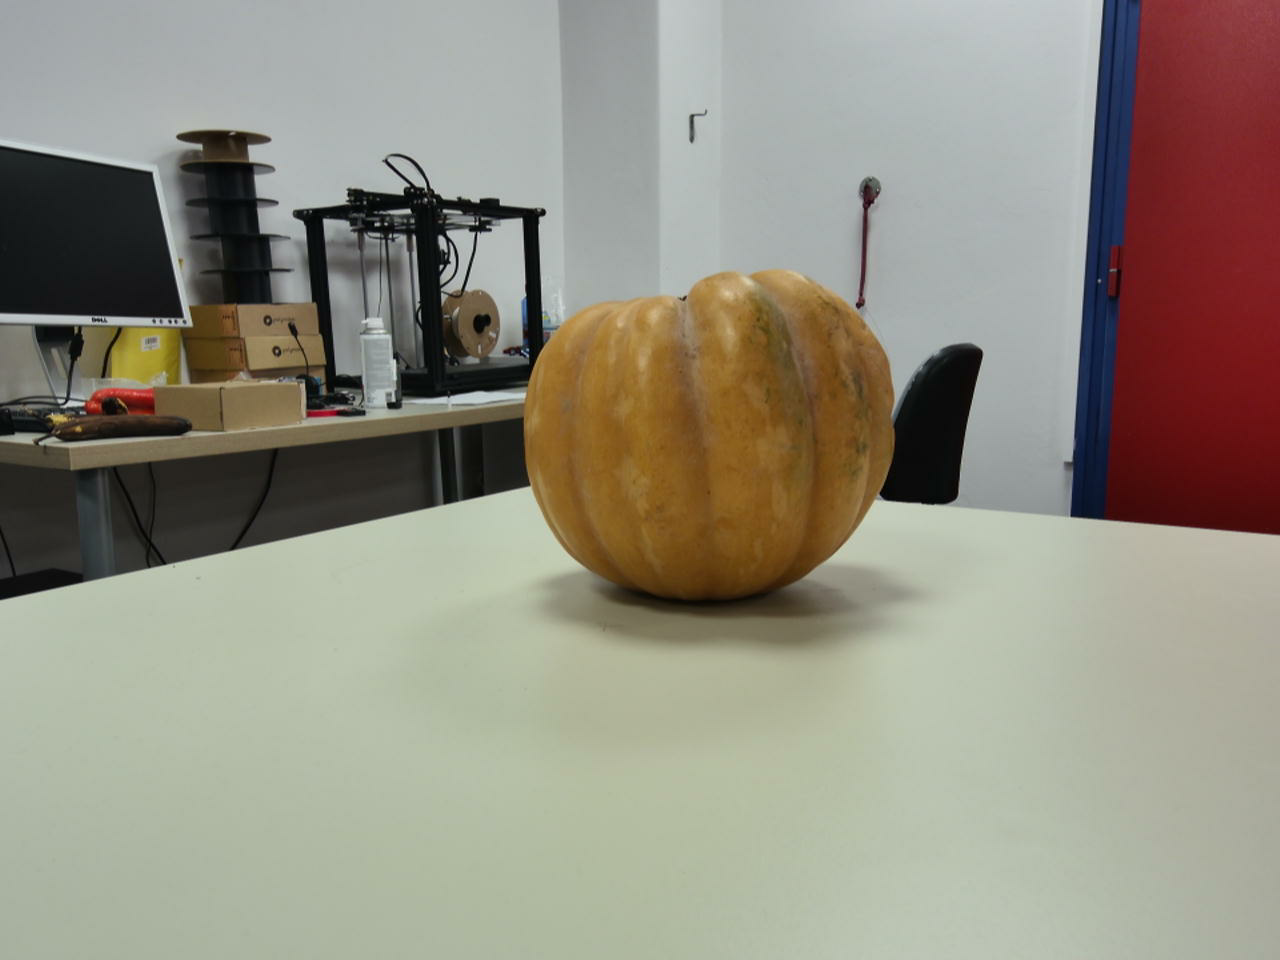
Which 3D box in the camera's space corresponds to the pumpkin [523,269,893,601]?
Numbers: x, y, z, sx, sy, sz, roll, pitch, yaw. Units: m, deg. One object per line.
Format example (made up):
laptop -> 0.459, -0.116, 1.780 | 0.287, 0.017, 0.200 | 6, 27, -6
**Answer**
pumpkin -> 0.040, -0.027, 0.615 | 0.230, 0.194, 0.230 | 1, 7, 0
